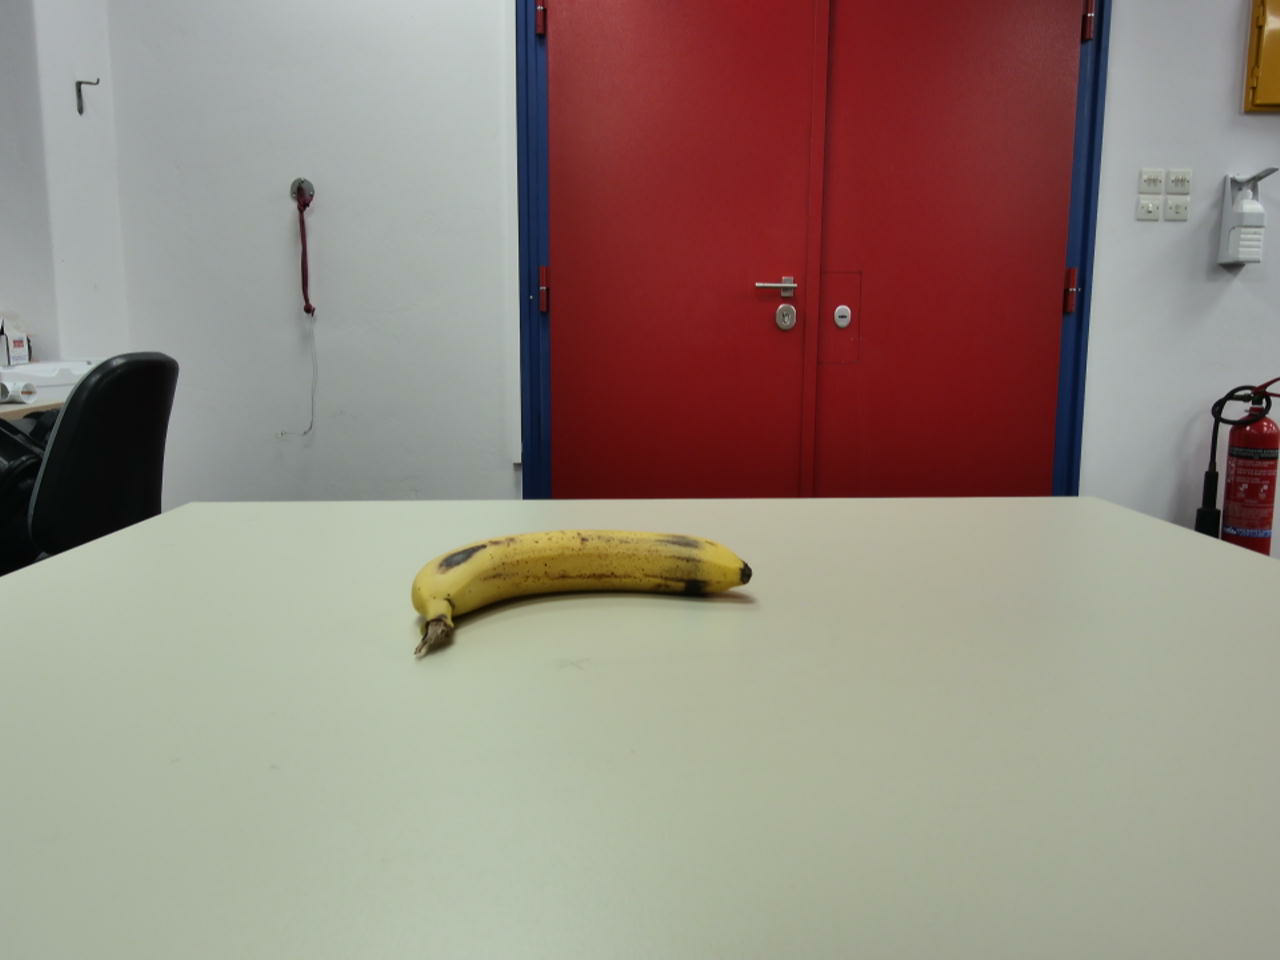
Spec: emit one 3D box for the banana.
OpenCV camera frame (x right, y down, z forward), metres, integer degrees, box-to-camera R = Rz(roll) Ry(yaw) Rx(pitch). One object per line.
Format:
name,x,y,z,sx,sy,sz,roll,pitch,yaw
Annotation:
banana,-0.040,0.052,0.542,0.186,0.038,0.097,-4,7,-29
